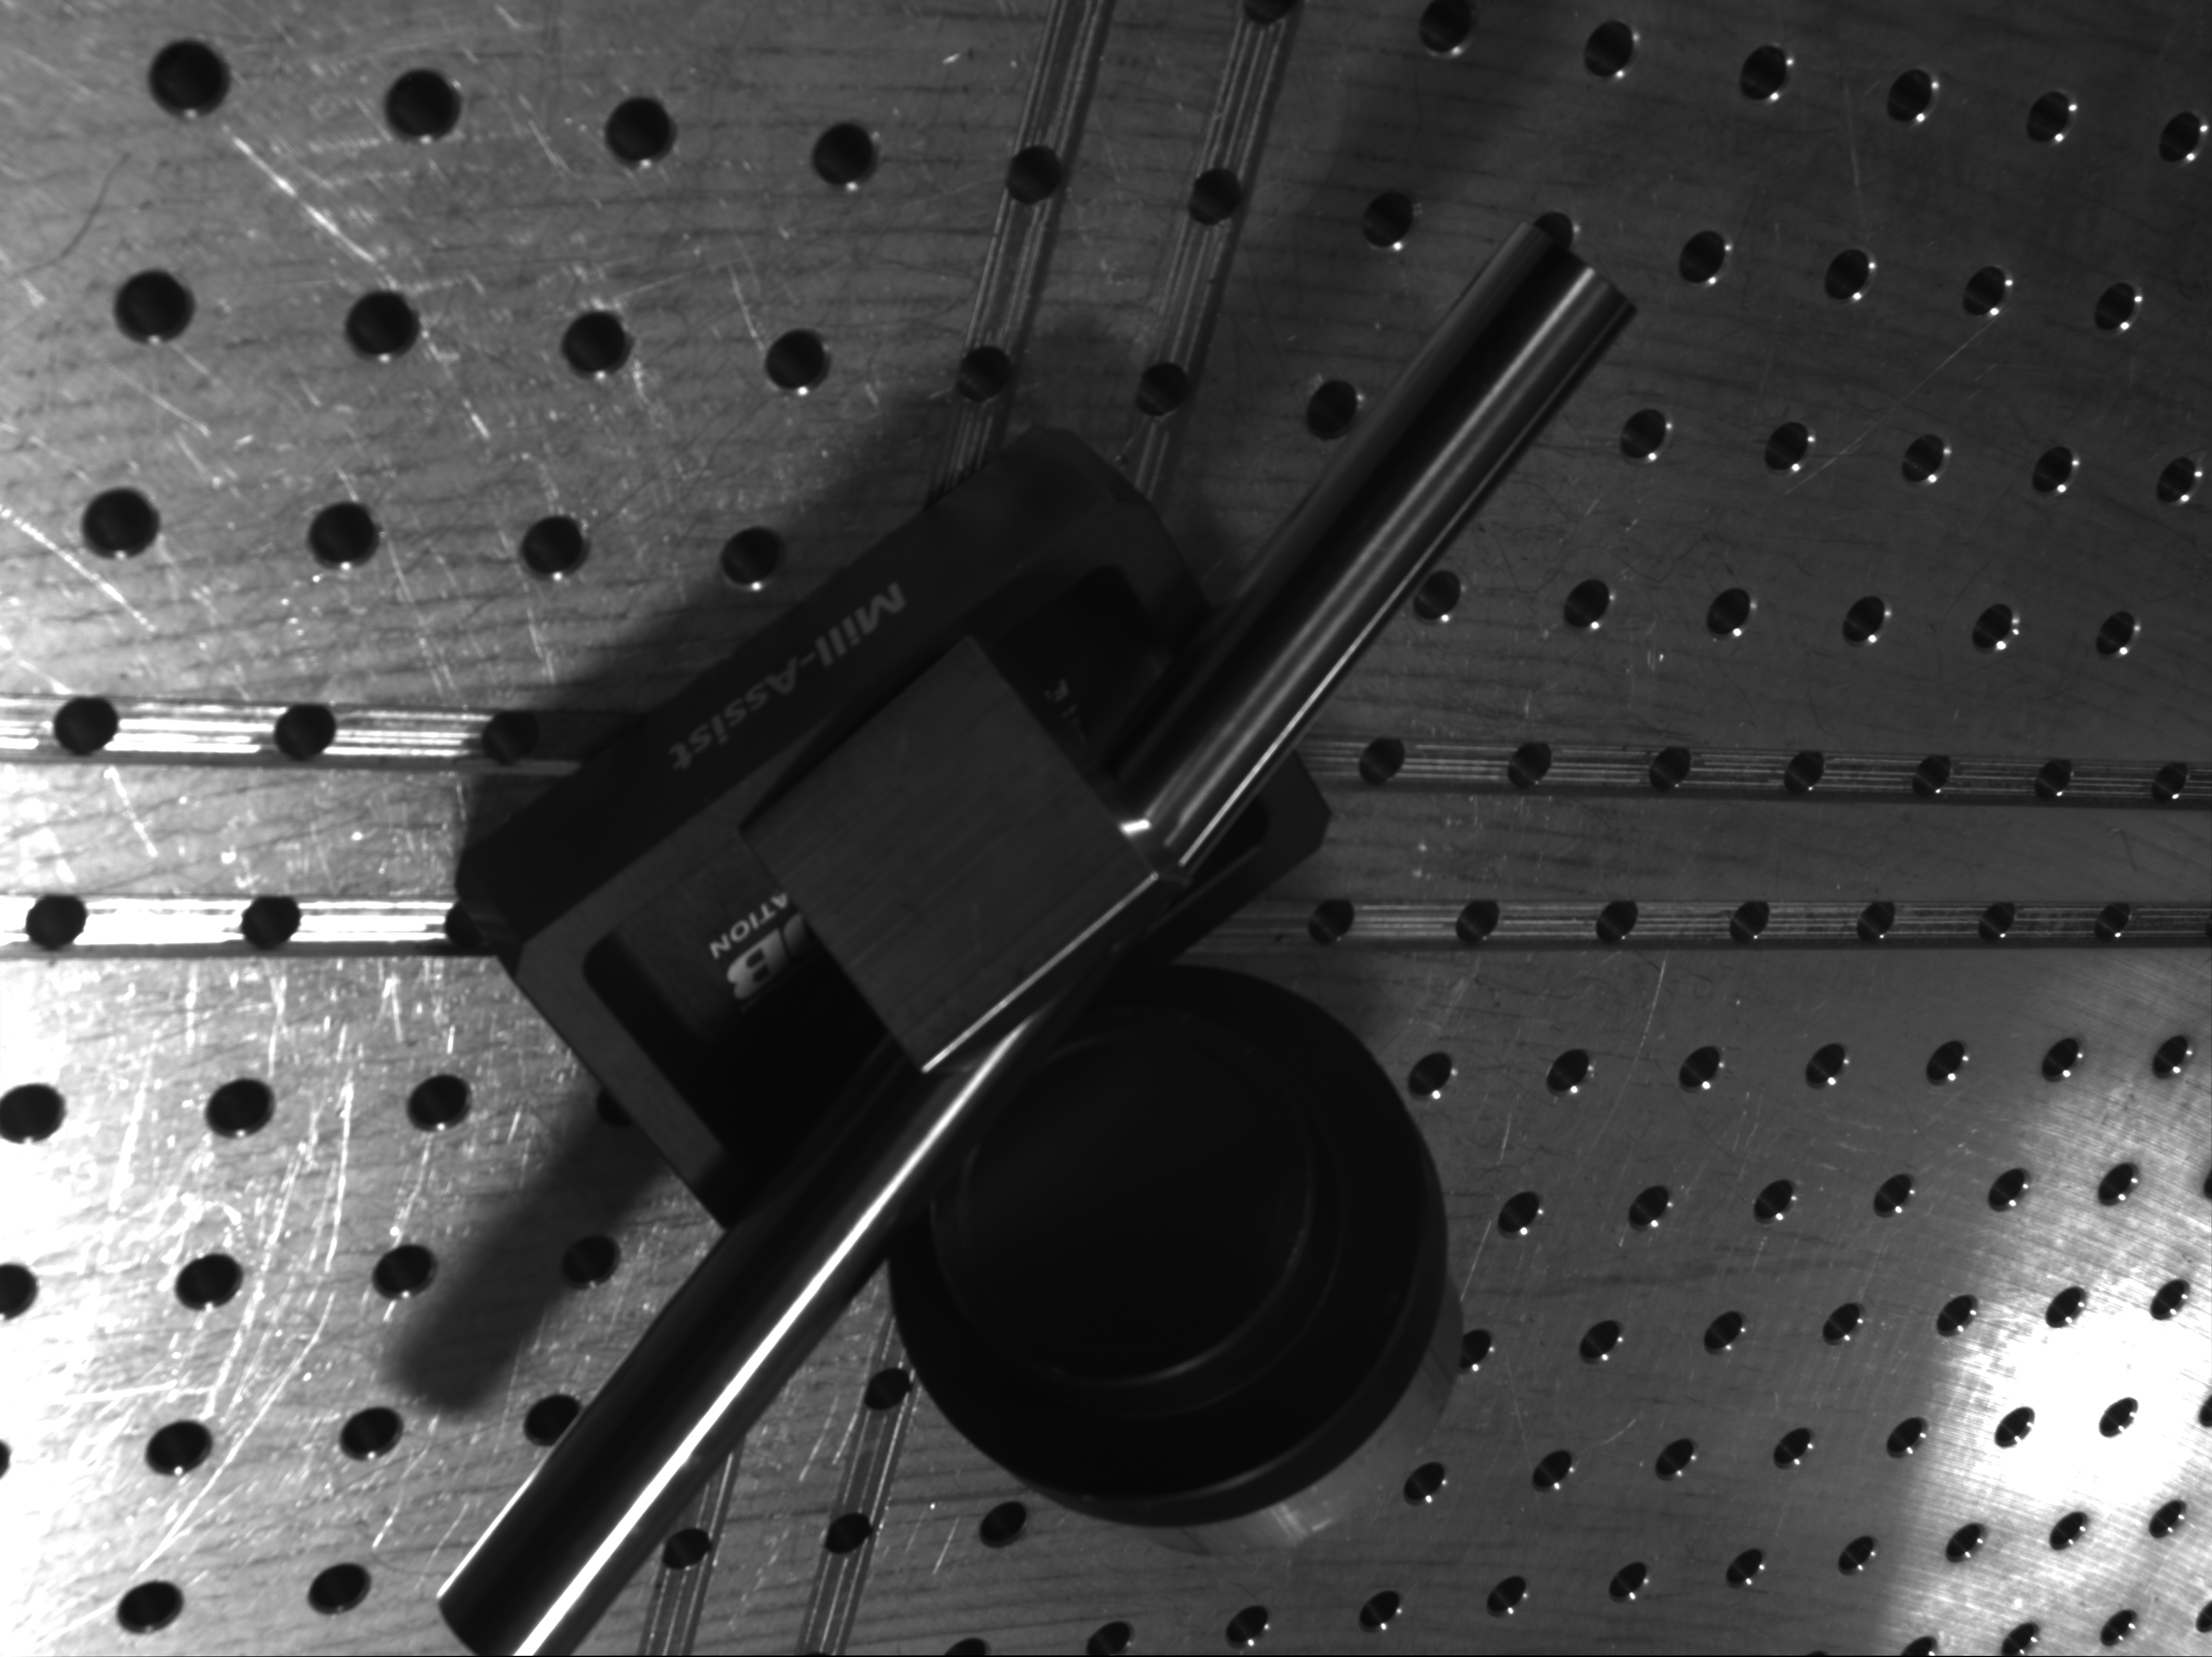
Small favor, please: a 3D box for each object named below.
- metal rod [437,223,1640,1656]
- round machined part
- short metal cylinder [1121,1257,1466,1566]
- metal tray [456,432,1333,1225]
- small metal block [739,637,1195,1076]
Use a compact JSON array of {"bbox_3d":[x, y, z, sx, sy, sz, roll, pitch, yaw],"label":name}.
[{"bbox_3d":[-0.014,0.025,0.621,0.025,0.025,0.300,33,99,-39],"label":"metal rod"},{"bbox_3d":[0.008,0.070,0.641,0.098,0.098,0.042,-40,152,-3],"label":"round machined part"},{"bbox_3d":[0.021,0.090,0.684,0.080,0.080,0.050,-37,130,-5],"label":"short metal cylinder"},{"bbox_3d":[-0.034,0.005,0.633,0.130,0.030,0.090,-37,130,-5],"label":"metal tray"},{"bbox_3d":[-0.023,0.005,0.599,0.050,0.050,0.025,-40,169,10],"label":"small metal block"}]
